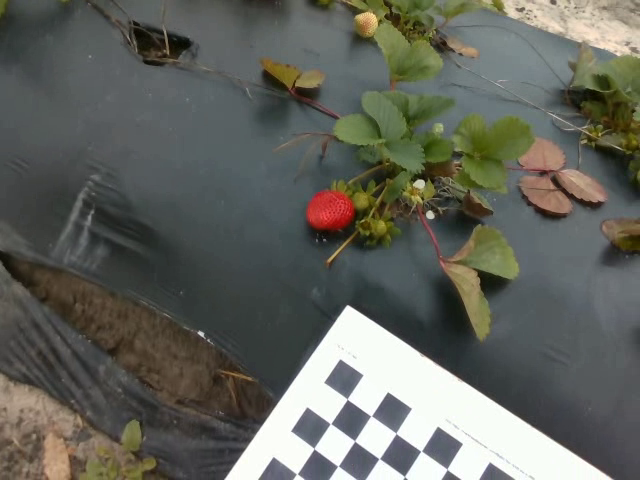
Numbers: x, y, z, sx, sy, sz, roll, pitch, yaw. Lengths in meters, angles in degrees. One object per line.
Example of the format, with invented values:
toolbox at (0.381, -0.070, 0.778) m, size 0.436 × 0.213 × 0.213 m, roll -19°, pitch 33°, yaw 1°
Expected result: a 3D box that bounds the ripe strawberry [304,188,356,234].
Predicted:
ripe strawberry at (0.001, -0.008, 0.164) m, size 0.017 × 0.018 × 0.014 m, roll -42°, pitch -10°, yaw -50°
